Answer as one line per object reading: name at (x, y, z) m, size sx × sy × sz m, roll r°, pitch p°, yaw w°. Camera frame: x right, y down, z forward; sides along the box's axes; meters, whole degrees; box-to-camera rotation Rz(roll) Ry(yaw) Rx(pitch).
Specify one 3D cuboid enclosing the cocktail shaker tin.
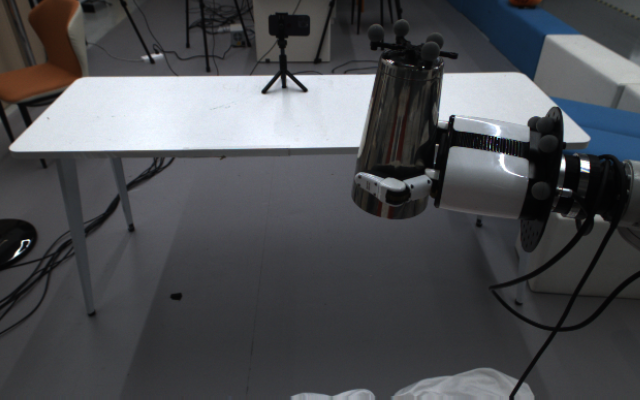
cocktail shaker tin at (0.090, -0.074, 0.540) m, size 0.093 × 0.170 × 0.093 m, roll 3°, pitch 34°, yaw -2°
